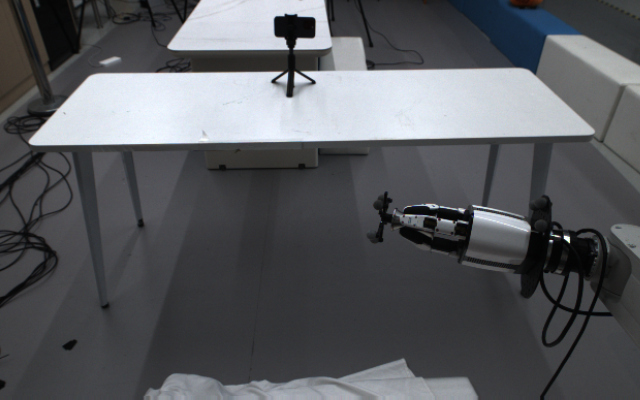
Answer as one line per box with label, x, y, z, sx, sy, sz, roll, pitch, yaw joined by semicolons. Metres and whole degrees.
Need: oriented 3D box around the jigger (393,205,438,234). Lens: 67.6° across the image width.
jigger;0.159;0.033;0.784;0.071;0.043;0.043;10;35;16
